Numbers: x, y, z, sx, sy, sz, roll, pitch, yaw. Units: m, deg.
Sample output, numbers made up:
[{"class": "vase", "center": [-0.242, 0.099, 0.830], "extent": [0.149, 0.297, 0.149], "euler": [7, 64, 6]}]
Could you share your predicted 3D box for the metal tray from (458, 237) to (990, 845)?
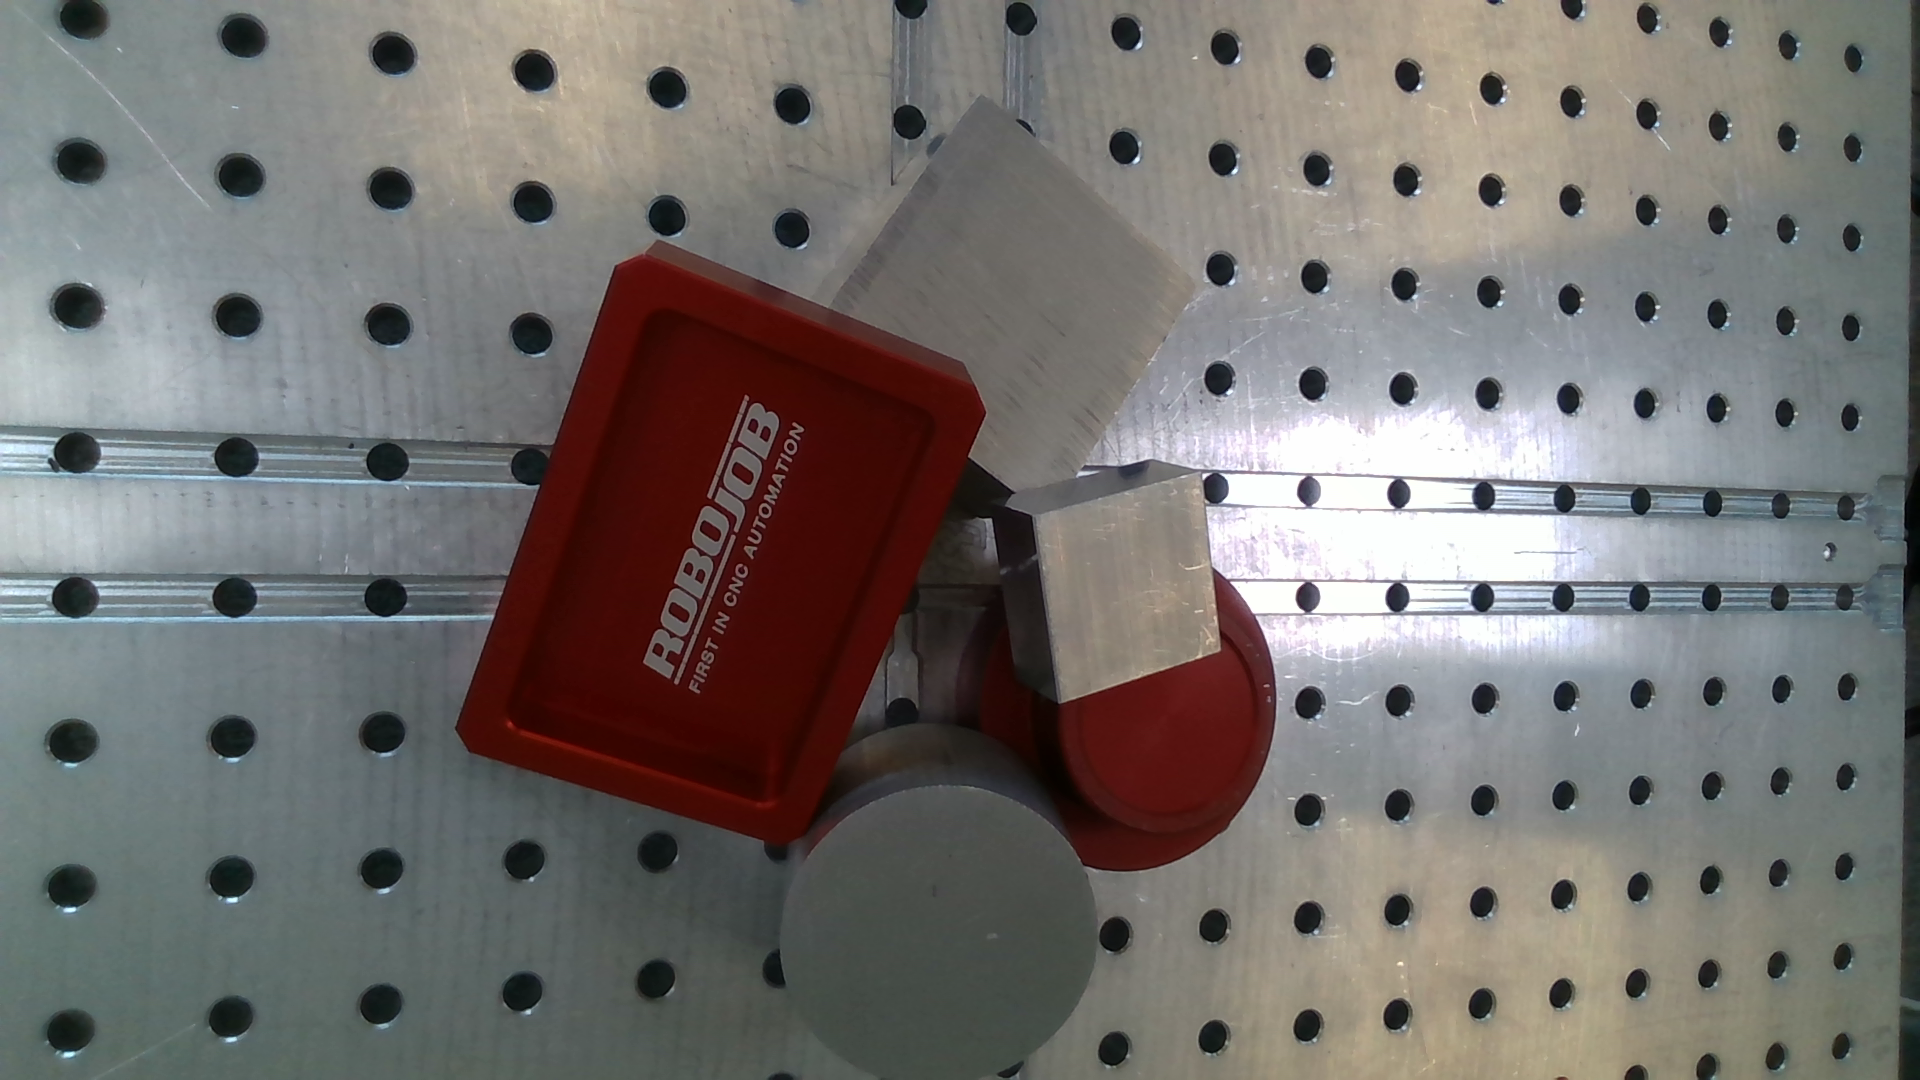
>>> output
[{"class": "metal tray", "center": [-0.059, 0.003, 0.342], "extent": [0.090, 0.030, 0.130], "euler": [20, 105, -12]}]

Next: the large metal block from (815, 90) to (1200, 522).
[{"class": "large metal block", "center": [0.005, -0.061, 0.385], "extent": [0.080, 0.050, 0.080], "euler": [37, 78, -16]}]

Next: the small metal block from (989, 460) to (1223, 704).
[{"class": "small metal block", "center": [0.039, 0.009, 0.362], "extent": [0.050, 0.025, 0.050], "euler": [-15, 106, -22]}]

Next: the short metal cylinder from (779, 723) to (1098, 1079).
[{"class": "short metal cylinder", "center": [-0.008, 0.095, 0.369], "extent": [0.080, 0.050, 0.080], "euler": [-1, 101, -6]}]

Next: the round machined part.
[{"class": "round machined part", "center": [0.052, 0.049, 0.407], "extent": [0.098, 0.042, 0.098], "euler": [0, 90, -20]}]
